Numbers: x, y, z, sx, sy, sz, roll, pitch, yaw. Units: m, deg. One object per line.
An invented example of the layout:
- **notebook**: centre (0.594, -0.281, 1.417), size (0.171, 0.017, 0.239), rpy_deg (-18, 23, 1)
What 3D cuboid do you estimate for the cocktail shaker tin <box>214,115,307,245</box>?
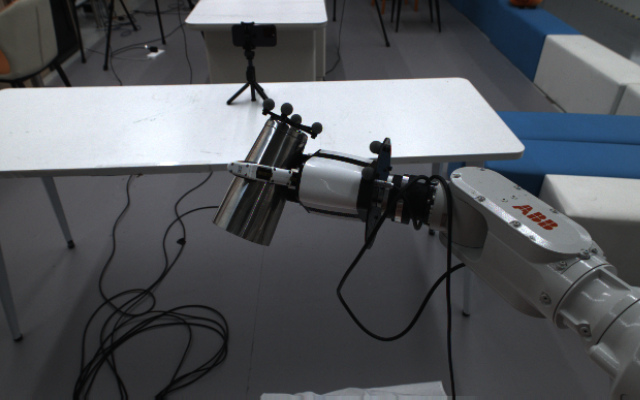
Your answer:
- **cocktail shaker tin**: centre (-0.081, -0.030, 0.712), size (0.093, 0.170, 0.093), rpy_deg (23, 0, 0)
